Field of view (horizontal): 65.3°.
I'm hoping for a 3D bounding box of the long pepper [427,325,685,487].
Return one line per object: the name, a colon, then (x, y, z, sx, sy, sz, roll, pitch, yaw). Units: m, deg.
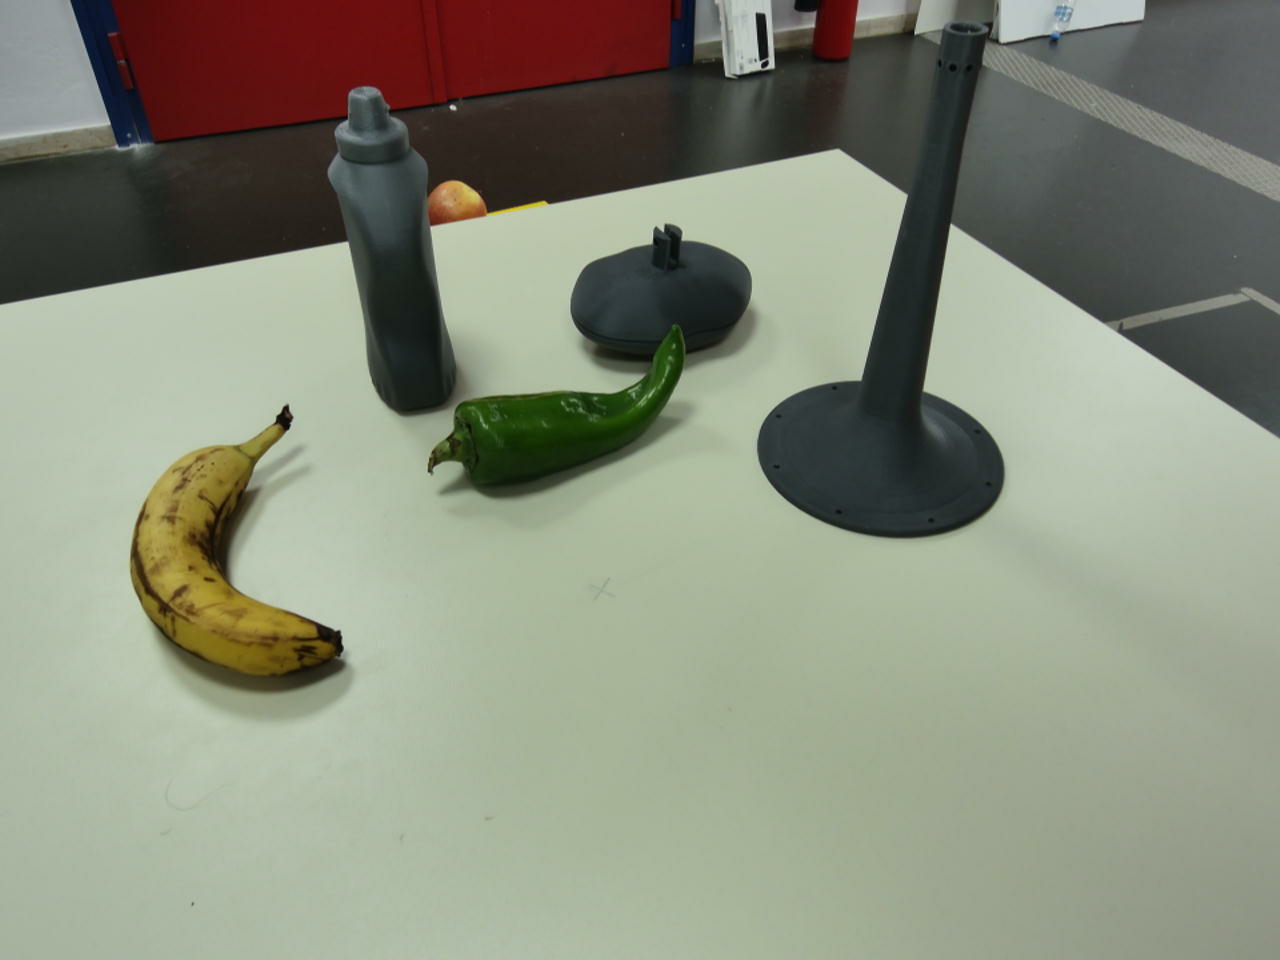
long pepper: (-0.045, -0.042, 0.603, 0.175, 0.065, 0.058, -17, 42, -21)
